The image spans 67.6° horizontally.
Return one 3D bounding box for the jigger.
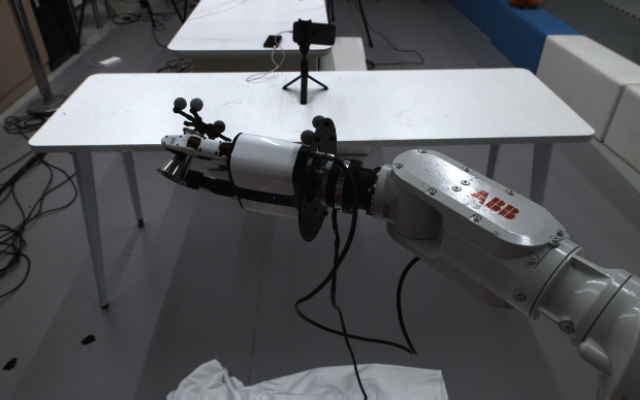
[{"bbox_3d":[-0.185,-0.061,0.653,0.043,0.043,0.071,20,74,24],"label":"jigger"}]
